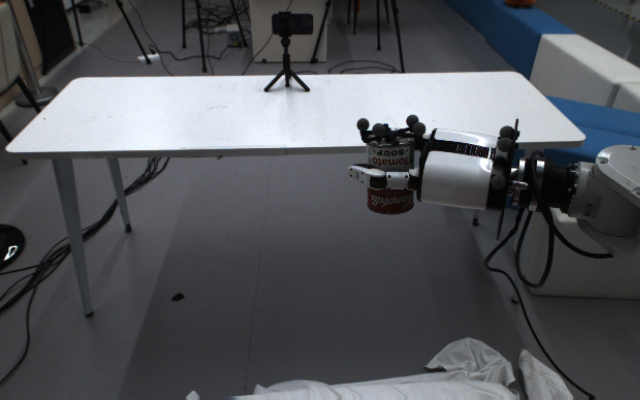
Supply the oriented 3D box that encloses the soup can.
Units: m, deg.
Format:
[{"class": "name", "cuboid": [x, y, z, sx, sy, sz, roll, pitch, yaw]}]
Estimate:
[{"class": "soup can", "cuboid": [0.100, -0.040, 0.680, 0.067, 0.101, 0.067, -4, 26, 2]}]
